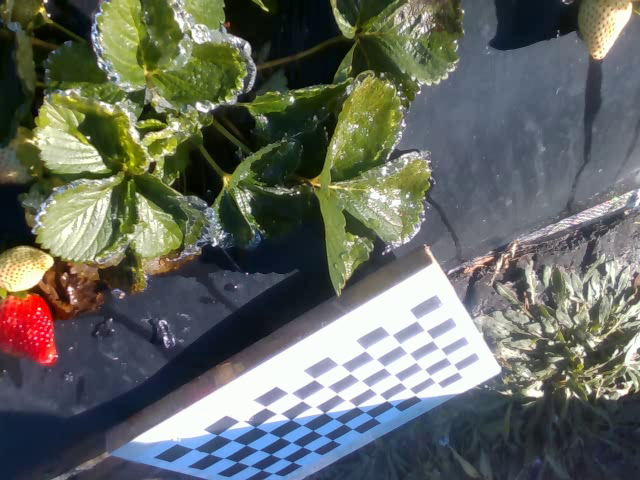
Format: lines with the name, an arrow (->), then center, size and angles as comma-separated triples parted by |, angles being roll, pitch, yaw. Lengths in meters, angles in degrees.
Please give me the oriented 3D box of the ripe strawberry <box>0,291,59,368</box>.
ripe strawberry -> -0.165, 0.054, 0.377 | 0.053, 0.040, 0.042 | 42, 35, 16
